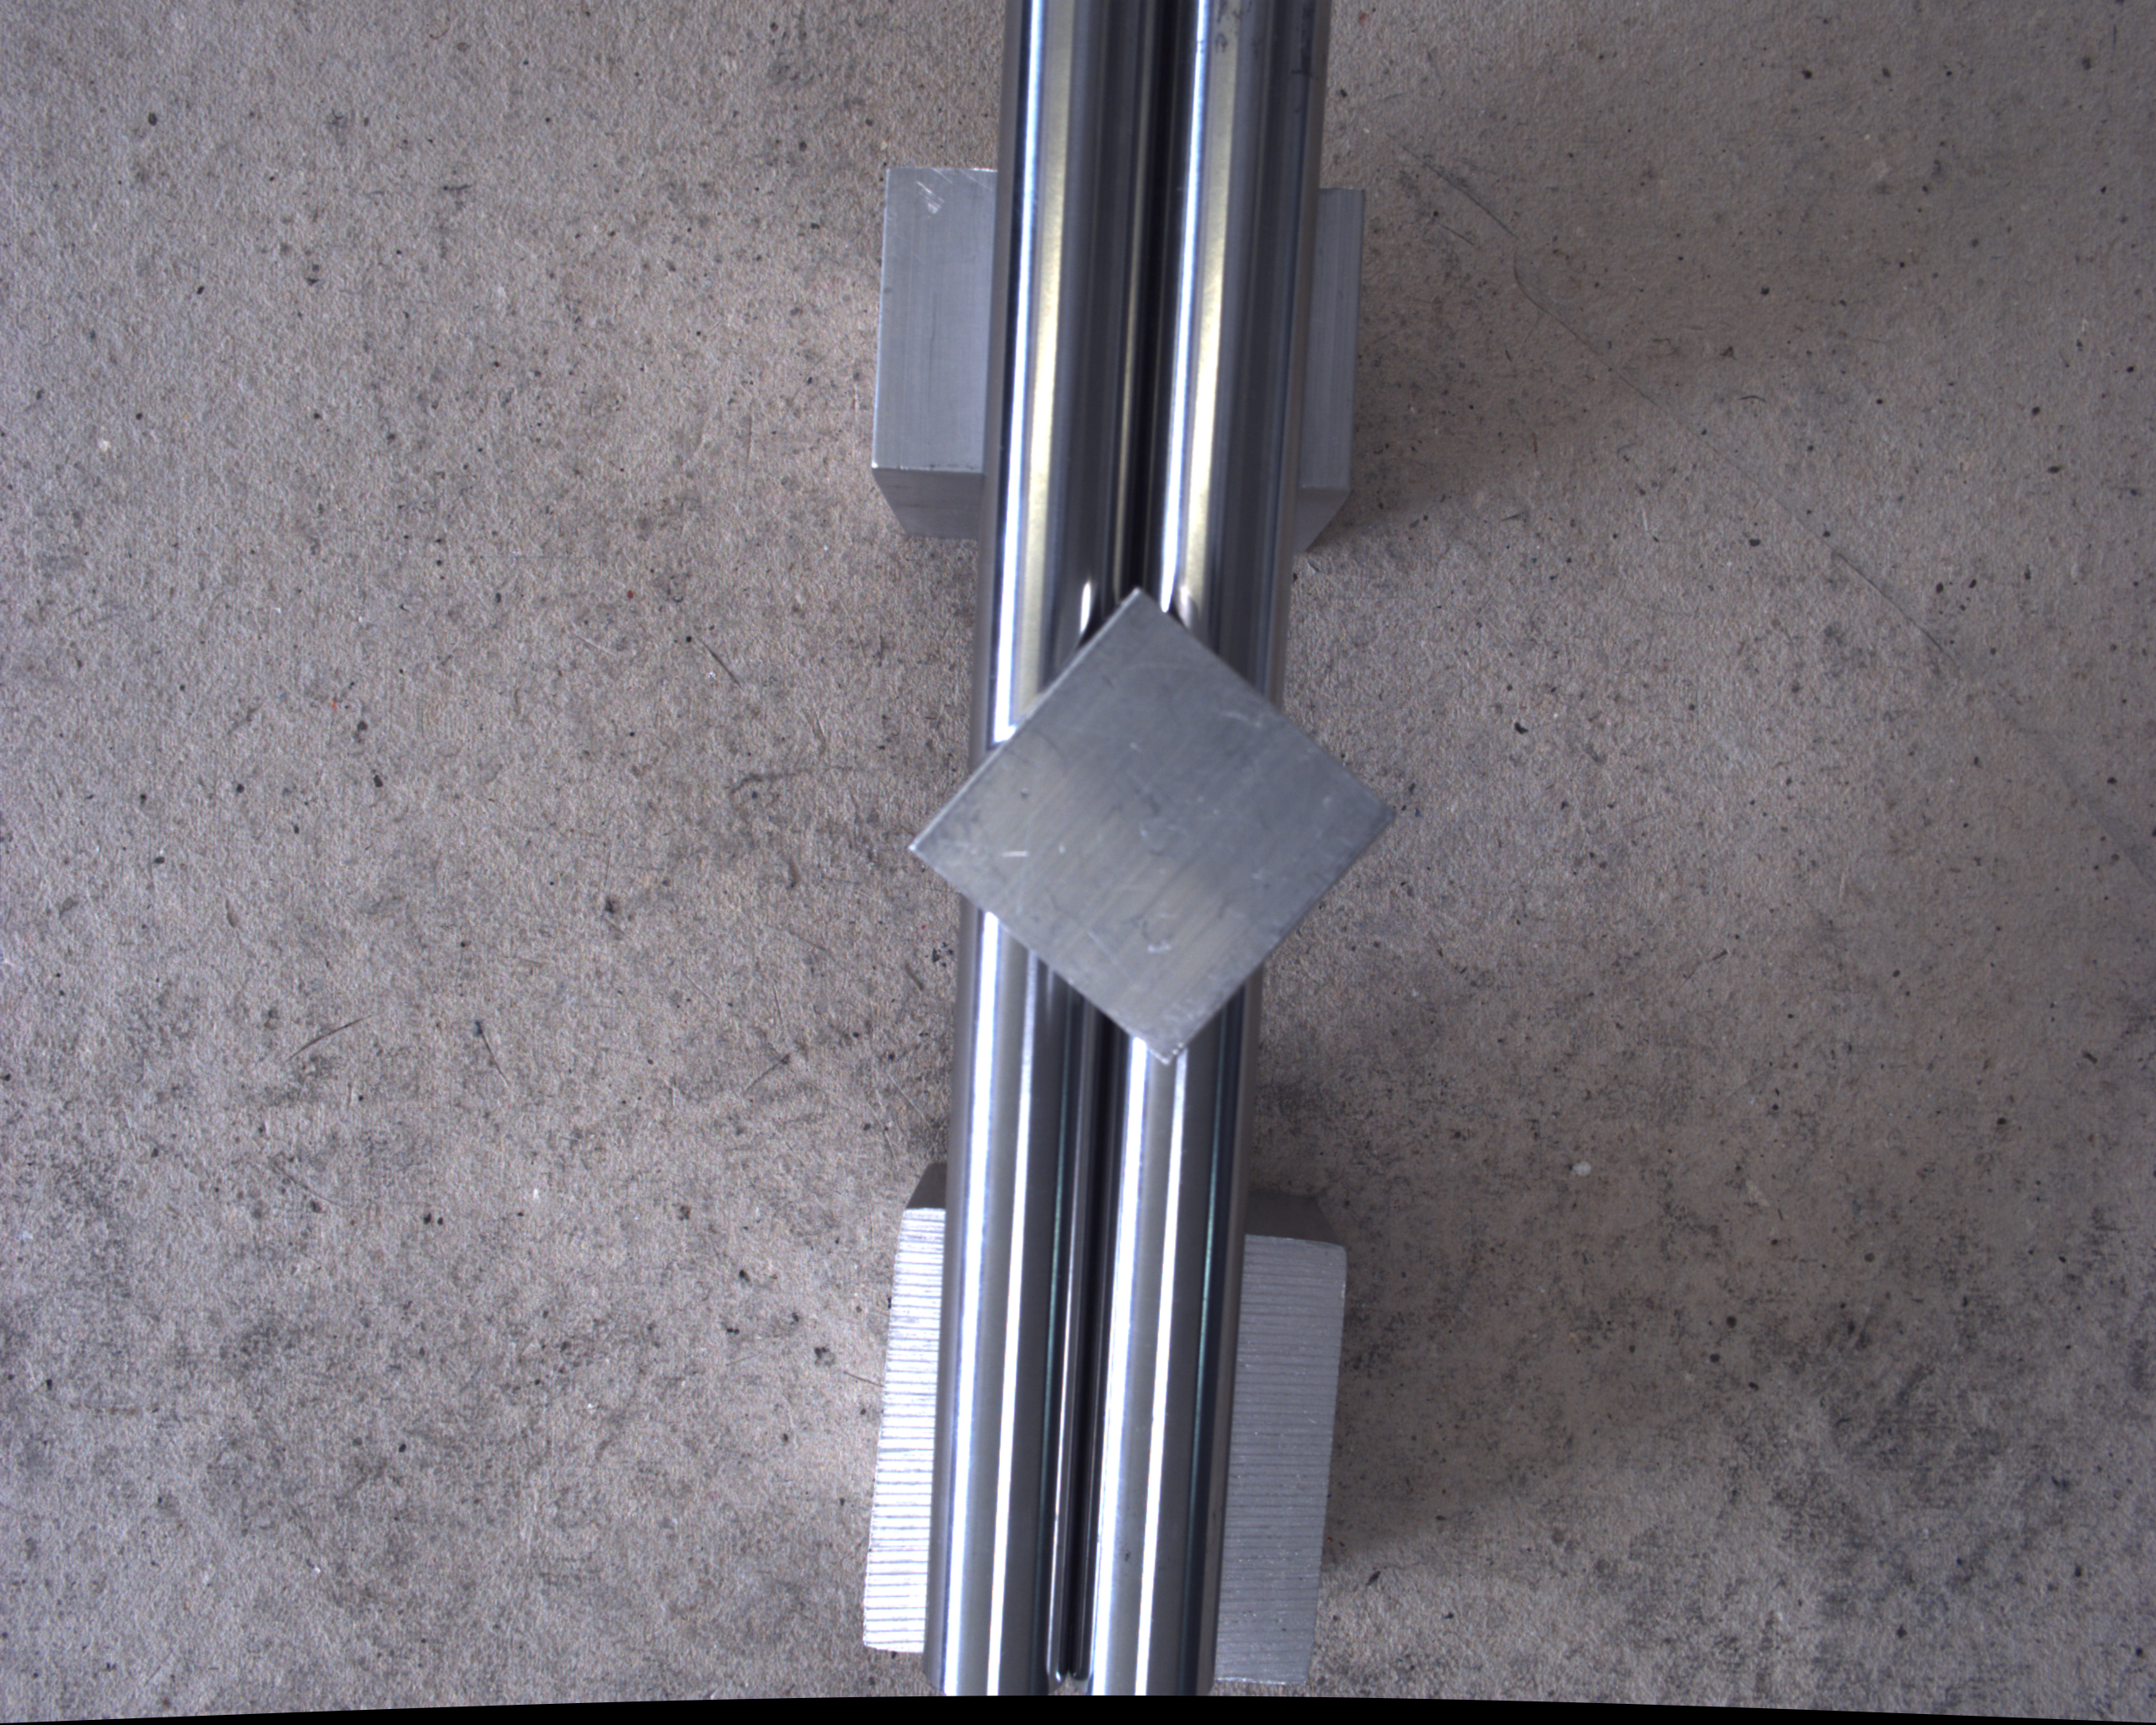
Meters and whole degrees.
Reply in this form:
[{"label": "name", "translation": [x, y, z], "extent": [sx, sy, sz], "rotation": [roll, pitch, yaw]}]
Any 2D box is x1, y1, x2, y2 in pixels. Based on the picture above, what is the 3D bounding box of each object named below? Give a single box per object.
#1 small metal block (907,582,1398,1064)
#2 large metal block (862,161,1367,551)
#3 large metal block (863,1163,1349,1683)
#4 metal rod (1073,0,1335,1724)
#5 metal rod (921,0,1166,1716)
[{"label": "small metal block", "translation": [0.011, -0.007, 0.314], "extent": [0.050, 0.025, 0.050], "rotation": [41, 95, -6]}, {"label": "large metal block", "translation": [0.006, -0.089, 0.384], "extent": [0.080, 0.080, 0.050], "rotation": [3, 90, 0]}, {"label": "large metal block", "translation": [0.005, 0.104, 0.398], "extent": [0.080, 0.050, 0.080], "rotation": [5, 90, 0]}, {"label": "metal rod", "translation": [0.020, -0.007, 0.338], "extent": [0.025, 0.025, 0.298], "rotation": [3, 97, 0]}, {"label": "metal rod", "translation": [-0.006, -0.008, 0.338], "extent": [0.025, 0.025, 0.298], "rotation": [3, 97, 0]}]
